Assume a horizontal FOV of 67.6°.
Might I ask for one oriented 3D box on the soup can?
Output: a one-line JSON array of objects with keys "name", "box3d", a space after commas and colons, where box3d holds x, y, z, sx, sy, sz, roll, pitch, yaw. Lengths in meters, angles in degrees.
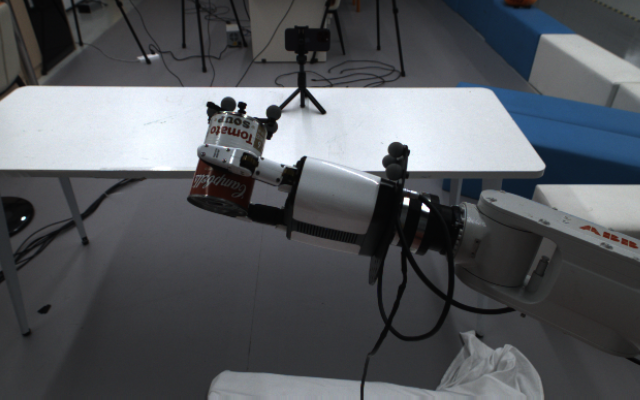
[{"name": "soup can", "box3d": [-0.101, -0.040, 0.544, 0.067, 0.067, 0.101, 9, 74, 9]}]
